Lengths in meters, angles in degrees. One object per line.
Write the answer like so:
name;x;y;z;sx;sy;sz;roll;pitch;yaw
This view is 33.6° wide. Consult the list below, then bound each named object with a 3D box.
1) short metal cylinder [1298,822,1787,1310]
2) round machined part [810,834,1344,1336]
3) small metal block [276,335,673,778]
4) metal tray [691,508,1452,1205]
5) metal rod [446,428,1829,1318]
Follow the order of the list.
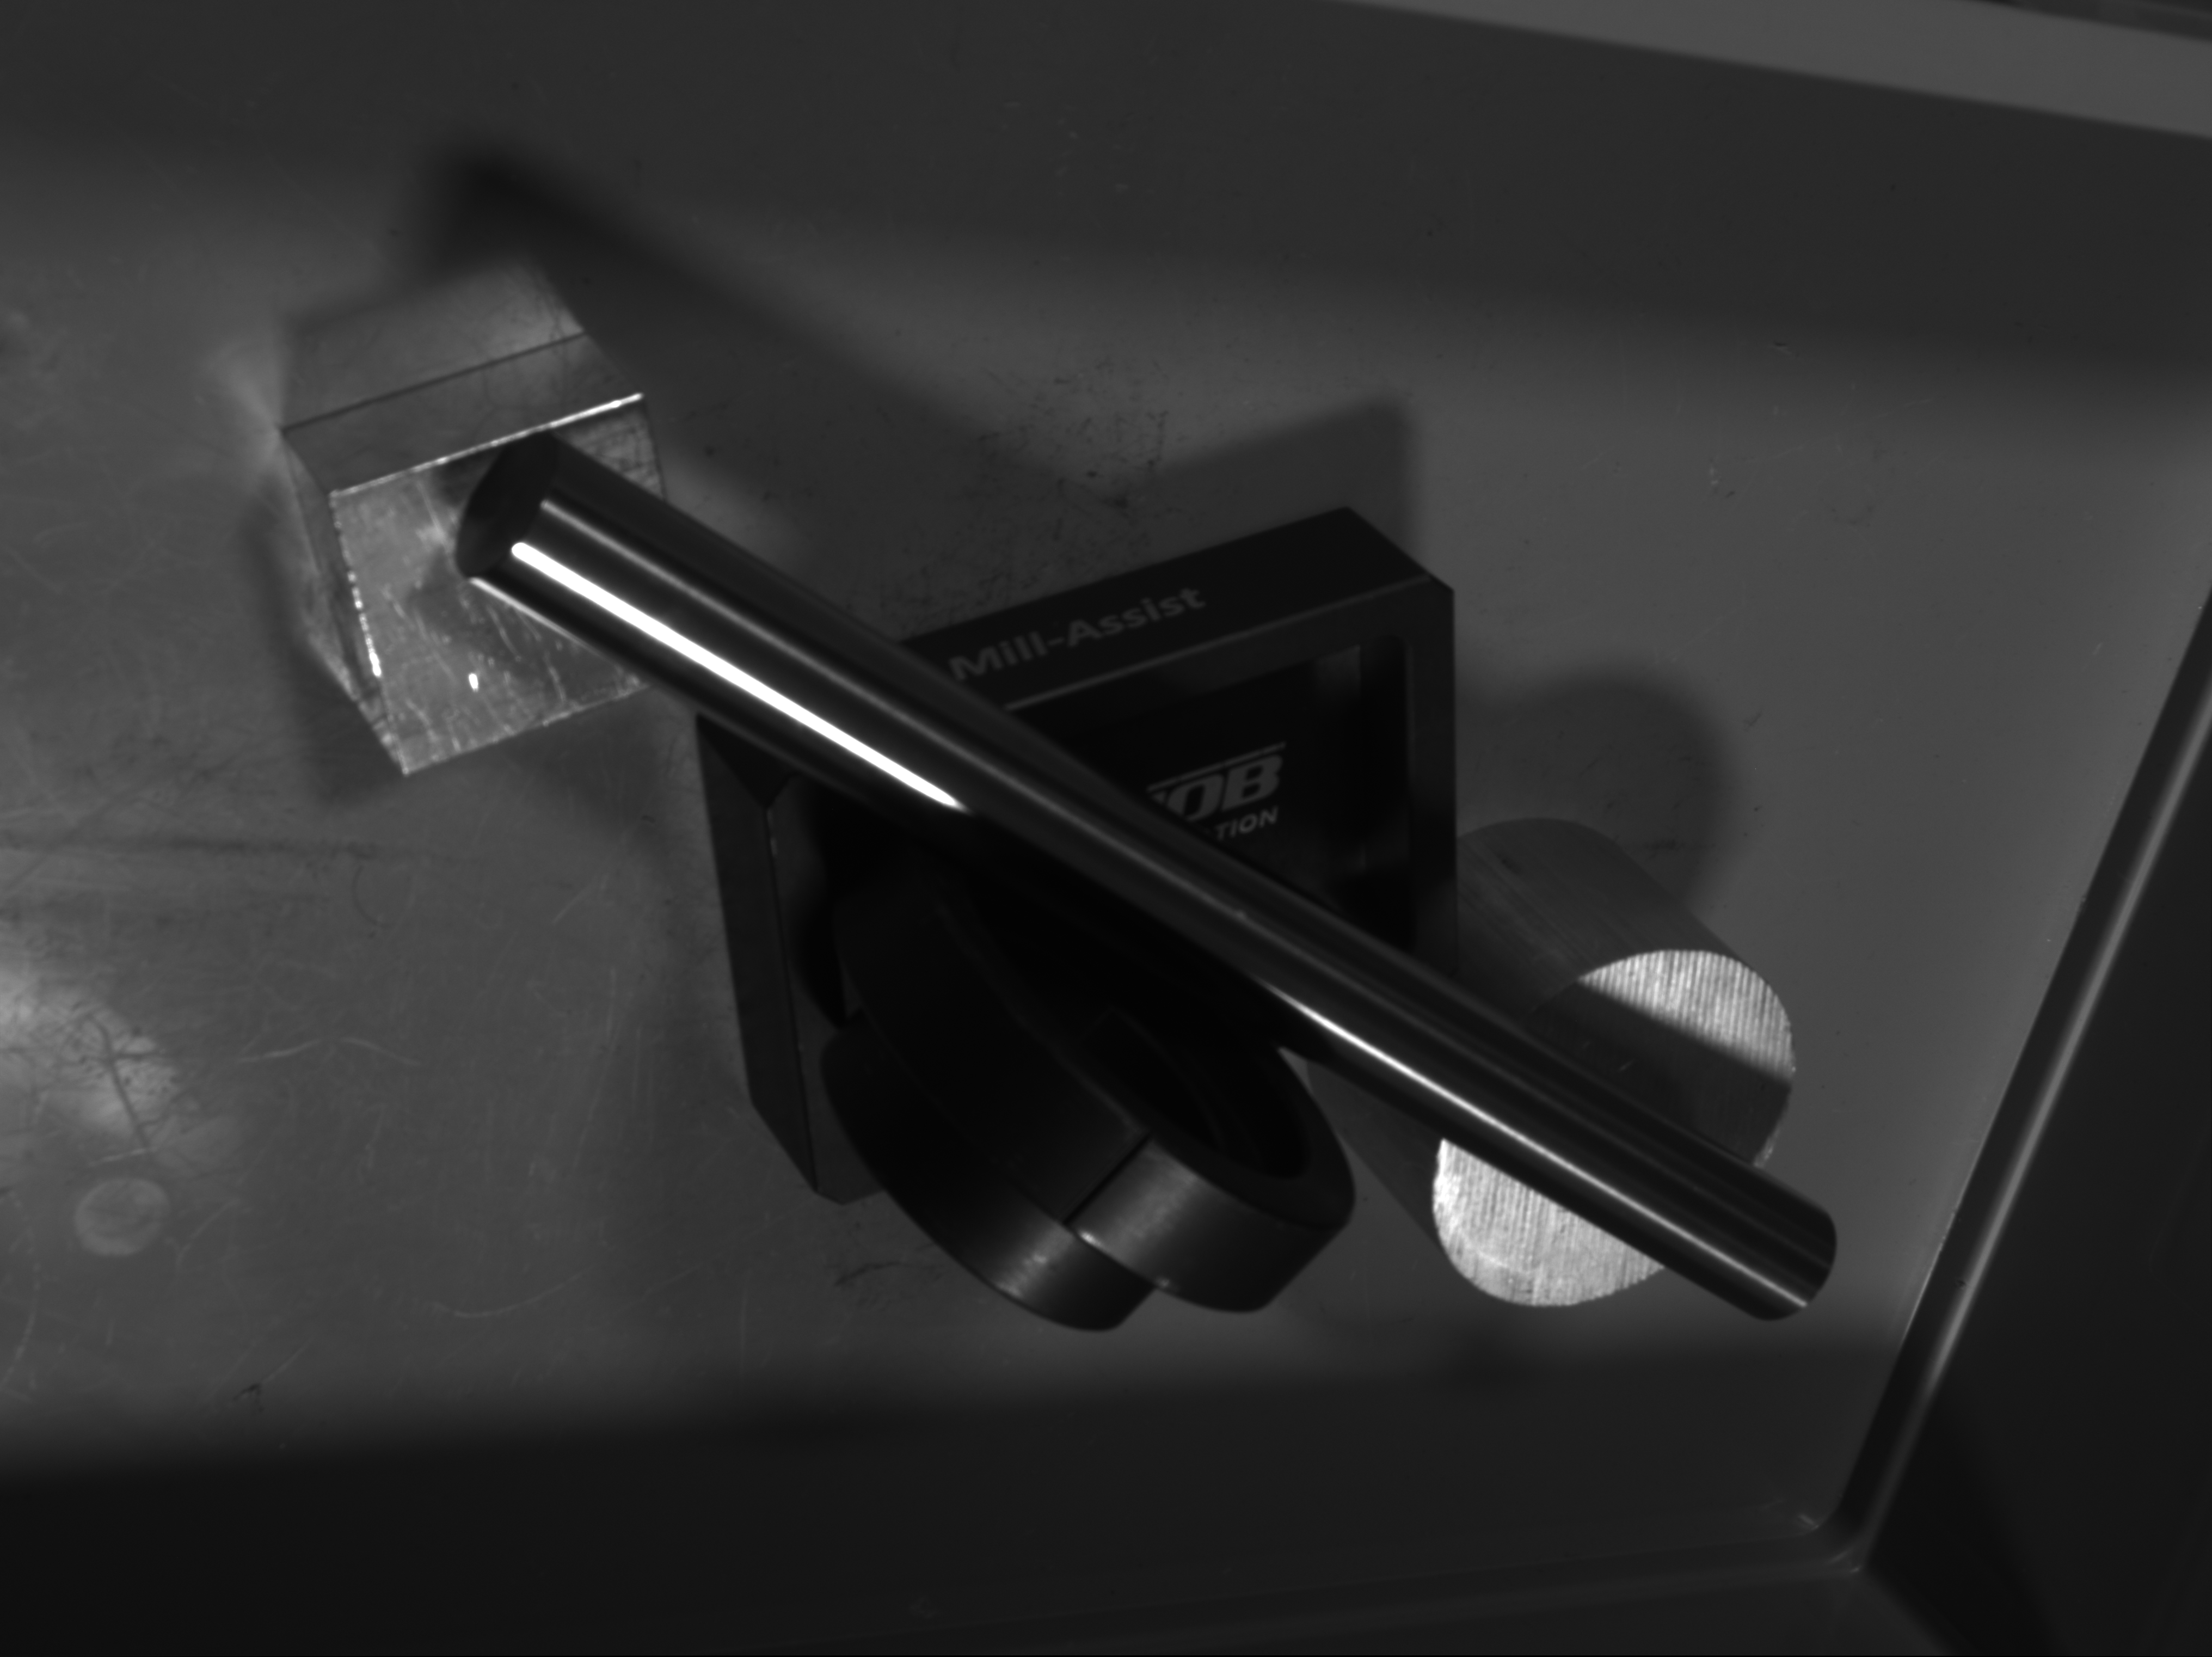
short metal cylinder;0.084;0.046;0.711;0.080;0.050;0.080;-15;125;-22
round machined part;-0.010;0.045;0.607;0.042;0.098;0.098;-47;131;13
small metal block;-0.095;-0.042;0.567;0.050;0.025;0.050;-20;127;-18
metal tray;-0.003;0.004;0.646;0.130;0.030;0.090;-18;126;-20
metal rod;0.019;0.017;0.618;0.301;0.025;0.025;31;100;-33
